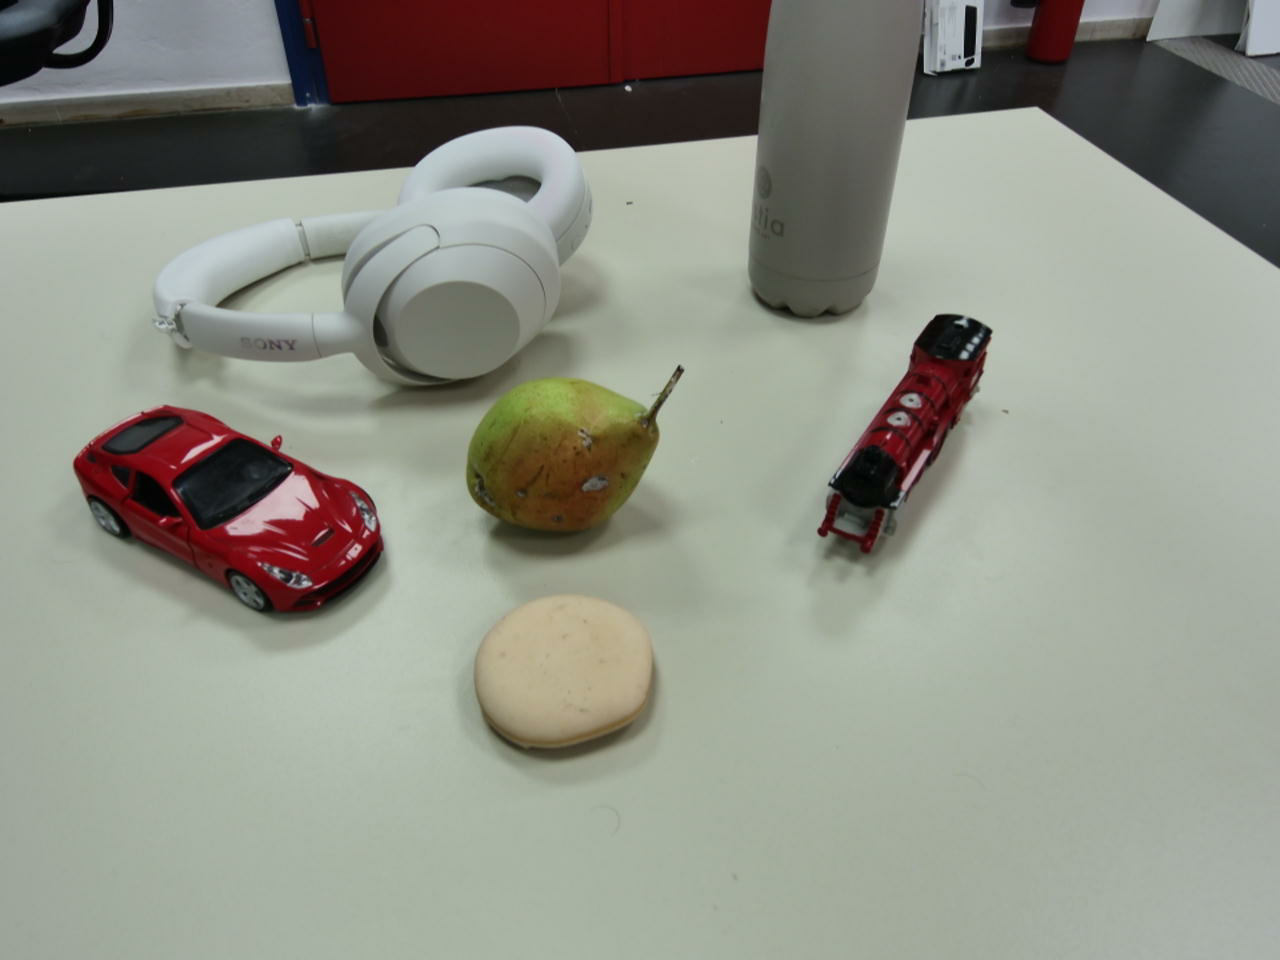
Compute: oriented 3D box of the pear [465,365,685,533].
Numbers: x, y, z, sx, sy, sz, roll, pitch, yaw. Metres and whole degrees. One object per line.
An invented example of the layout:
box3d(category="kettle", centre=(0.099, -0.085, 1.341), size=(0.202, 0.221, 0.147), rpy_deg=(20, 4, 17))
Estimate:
box3d(category="pear", centre=(-0.031, -0.012, 0.397), size=(0.070, 0.069, 0.068), rpy_deg=(25, 45, 29))
